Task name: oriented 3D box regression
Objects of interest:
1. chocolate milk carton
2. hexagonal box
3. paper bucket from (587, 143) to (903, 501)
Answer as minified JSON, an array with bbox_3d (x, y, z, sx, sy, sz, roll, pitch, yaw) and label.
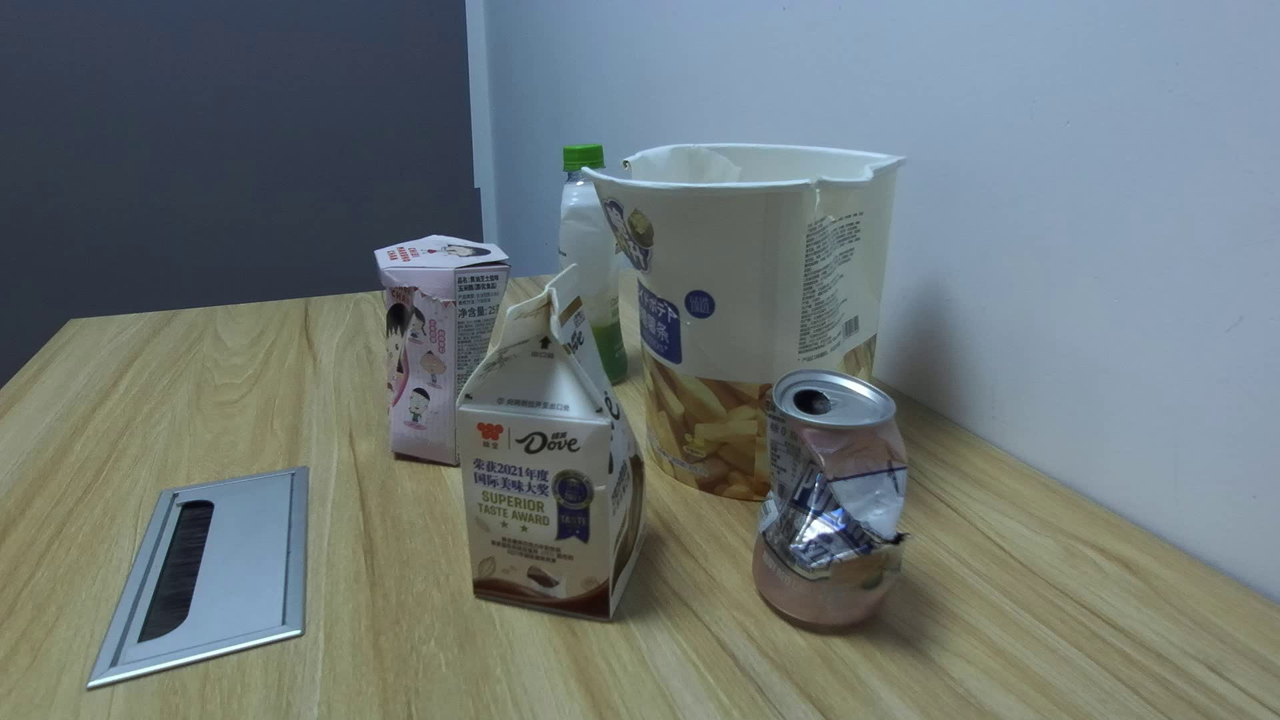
[{"bbox_3d":[-0.038,0.036,0.345,0.073,0.155,0.084,5,23,13],"label":"chocolate milk carton"},{"bbox_3d":[-0.128,-0.008,0.476,0.090,0.134,0.091,9,23,16],"label":"hexagonal box"},{"bbox_3d":[0.074,-0.031,0.453,0.145,0.197,0.203,10,24,26],"label":"paper bucket"}]
